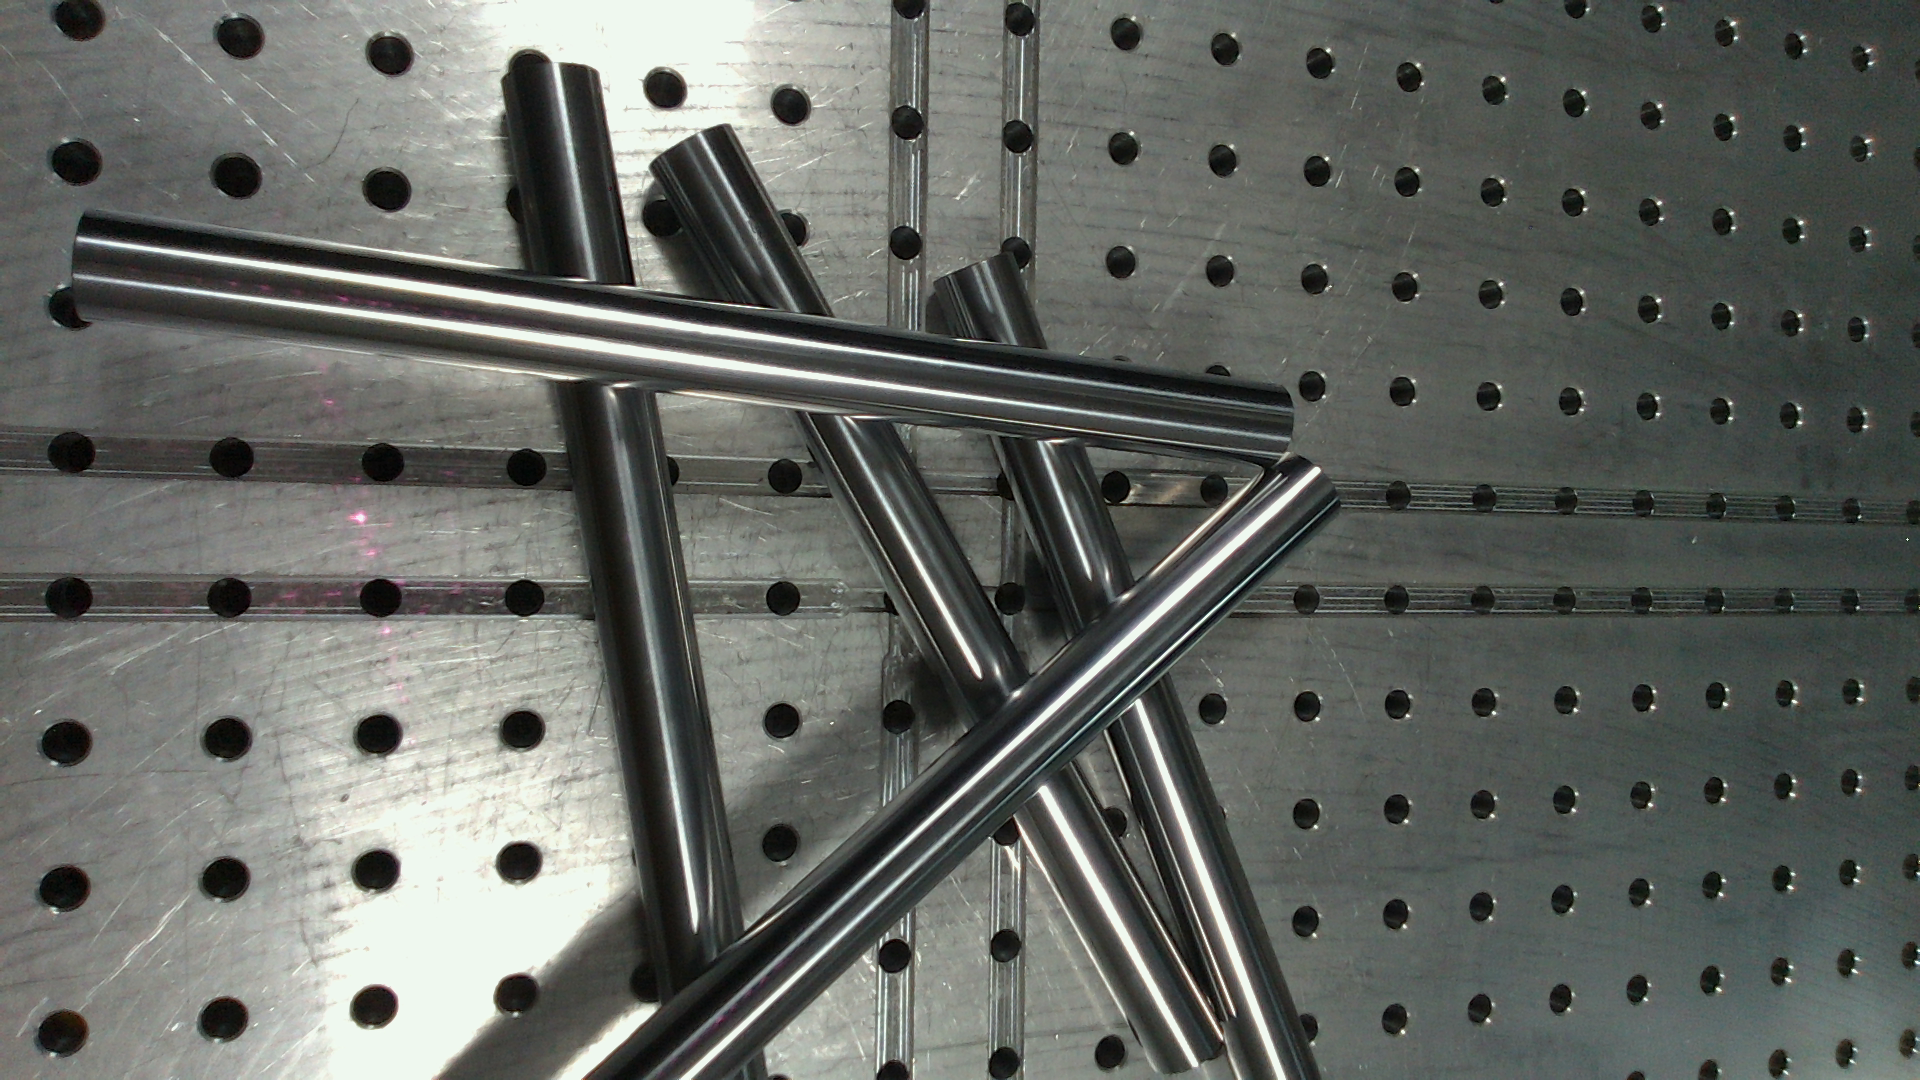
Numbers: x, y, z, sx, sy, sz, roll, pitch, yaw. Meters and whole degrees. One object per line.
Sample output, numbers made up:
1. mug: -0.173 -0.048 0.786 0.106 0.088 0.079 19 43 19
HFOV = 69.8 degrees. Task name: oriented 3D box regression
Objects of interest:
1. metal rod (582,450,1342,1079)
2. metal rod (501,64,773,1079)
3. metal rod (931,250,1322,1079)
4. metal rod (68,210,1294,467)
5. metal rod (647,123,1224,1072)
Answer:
1. metal rod: -0.008 0.077 0.366 0.301 0.025 0.025 -40 103 -15
2. metal rod: -0.082 0.029 0.365 0.025 0.025 0.300 -10 94 -20
3. metal rod: 0.057 0.059 0.417 0.025 0.025 0.300 -24 98 -18
4. metal rod: -0.050 -0.047 0.351 0.301 0.025 0.025 5 88 -20
5. metal rod: -0.002 0.024 0.395 0.025 0.025 0.300 -32 100 -17
